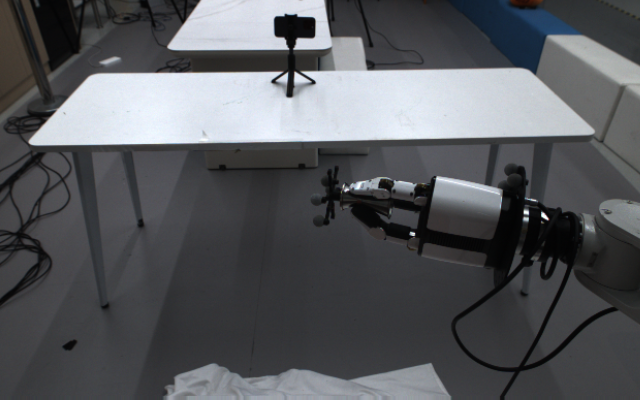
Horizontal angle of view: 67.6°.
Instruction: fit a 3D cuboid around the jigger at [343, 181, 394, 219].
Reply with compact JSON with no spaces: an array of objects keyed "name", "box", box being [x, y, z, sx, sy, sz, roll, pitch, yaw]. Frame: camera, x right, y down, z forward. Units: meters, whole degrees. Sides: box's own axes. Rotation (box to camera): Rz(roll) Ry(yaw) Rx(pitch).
[{"name":"jigger","box":[0.071,-0.006,0.661,0.071,0.043,0.043,8,35,14]}]
